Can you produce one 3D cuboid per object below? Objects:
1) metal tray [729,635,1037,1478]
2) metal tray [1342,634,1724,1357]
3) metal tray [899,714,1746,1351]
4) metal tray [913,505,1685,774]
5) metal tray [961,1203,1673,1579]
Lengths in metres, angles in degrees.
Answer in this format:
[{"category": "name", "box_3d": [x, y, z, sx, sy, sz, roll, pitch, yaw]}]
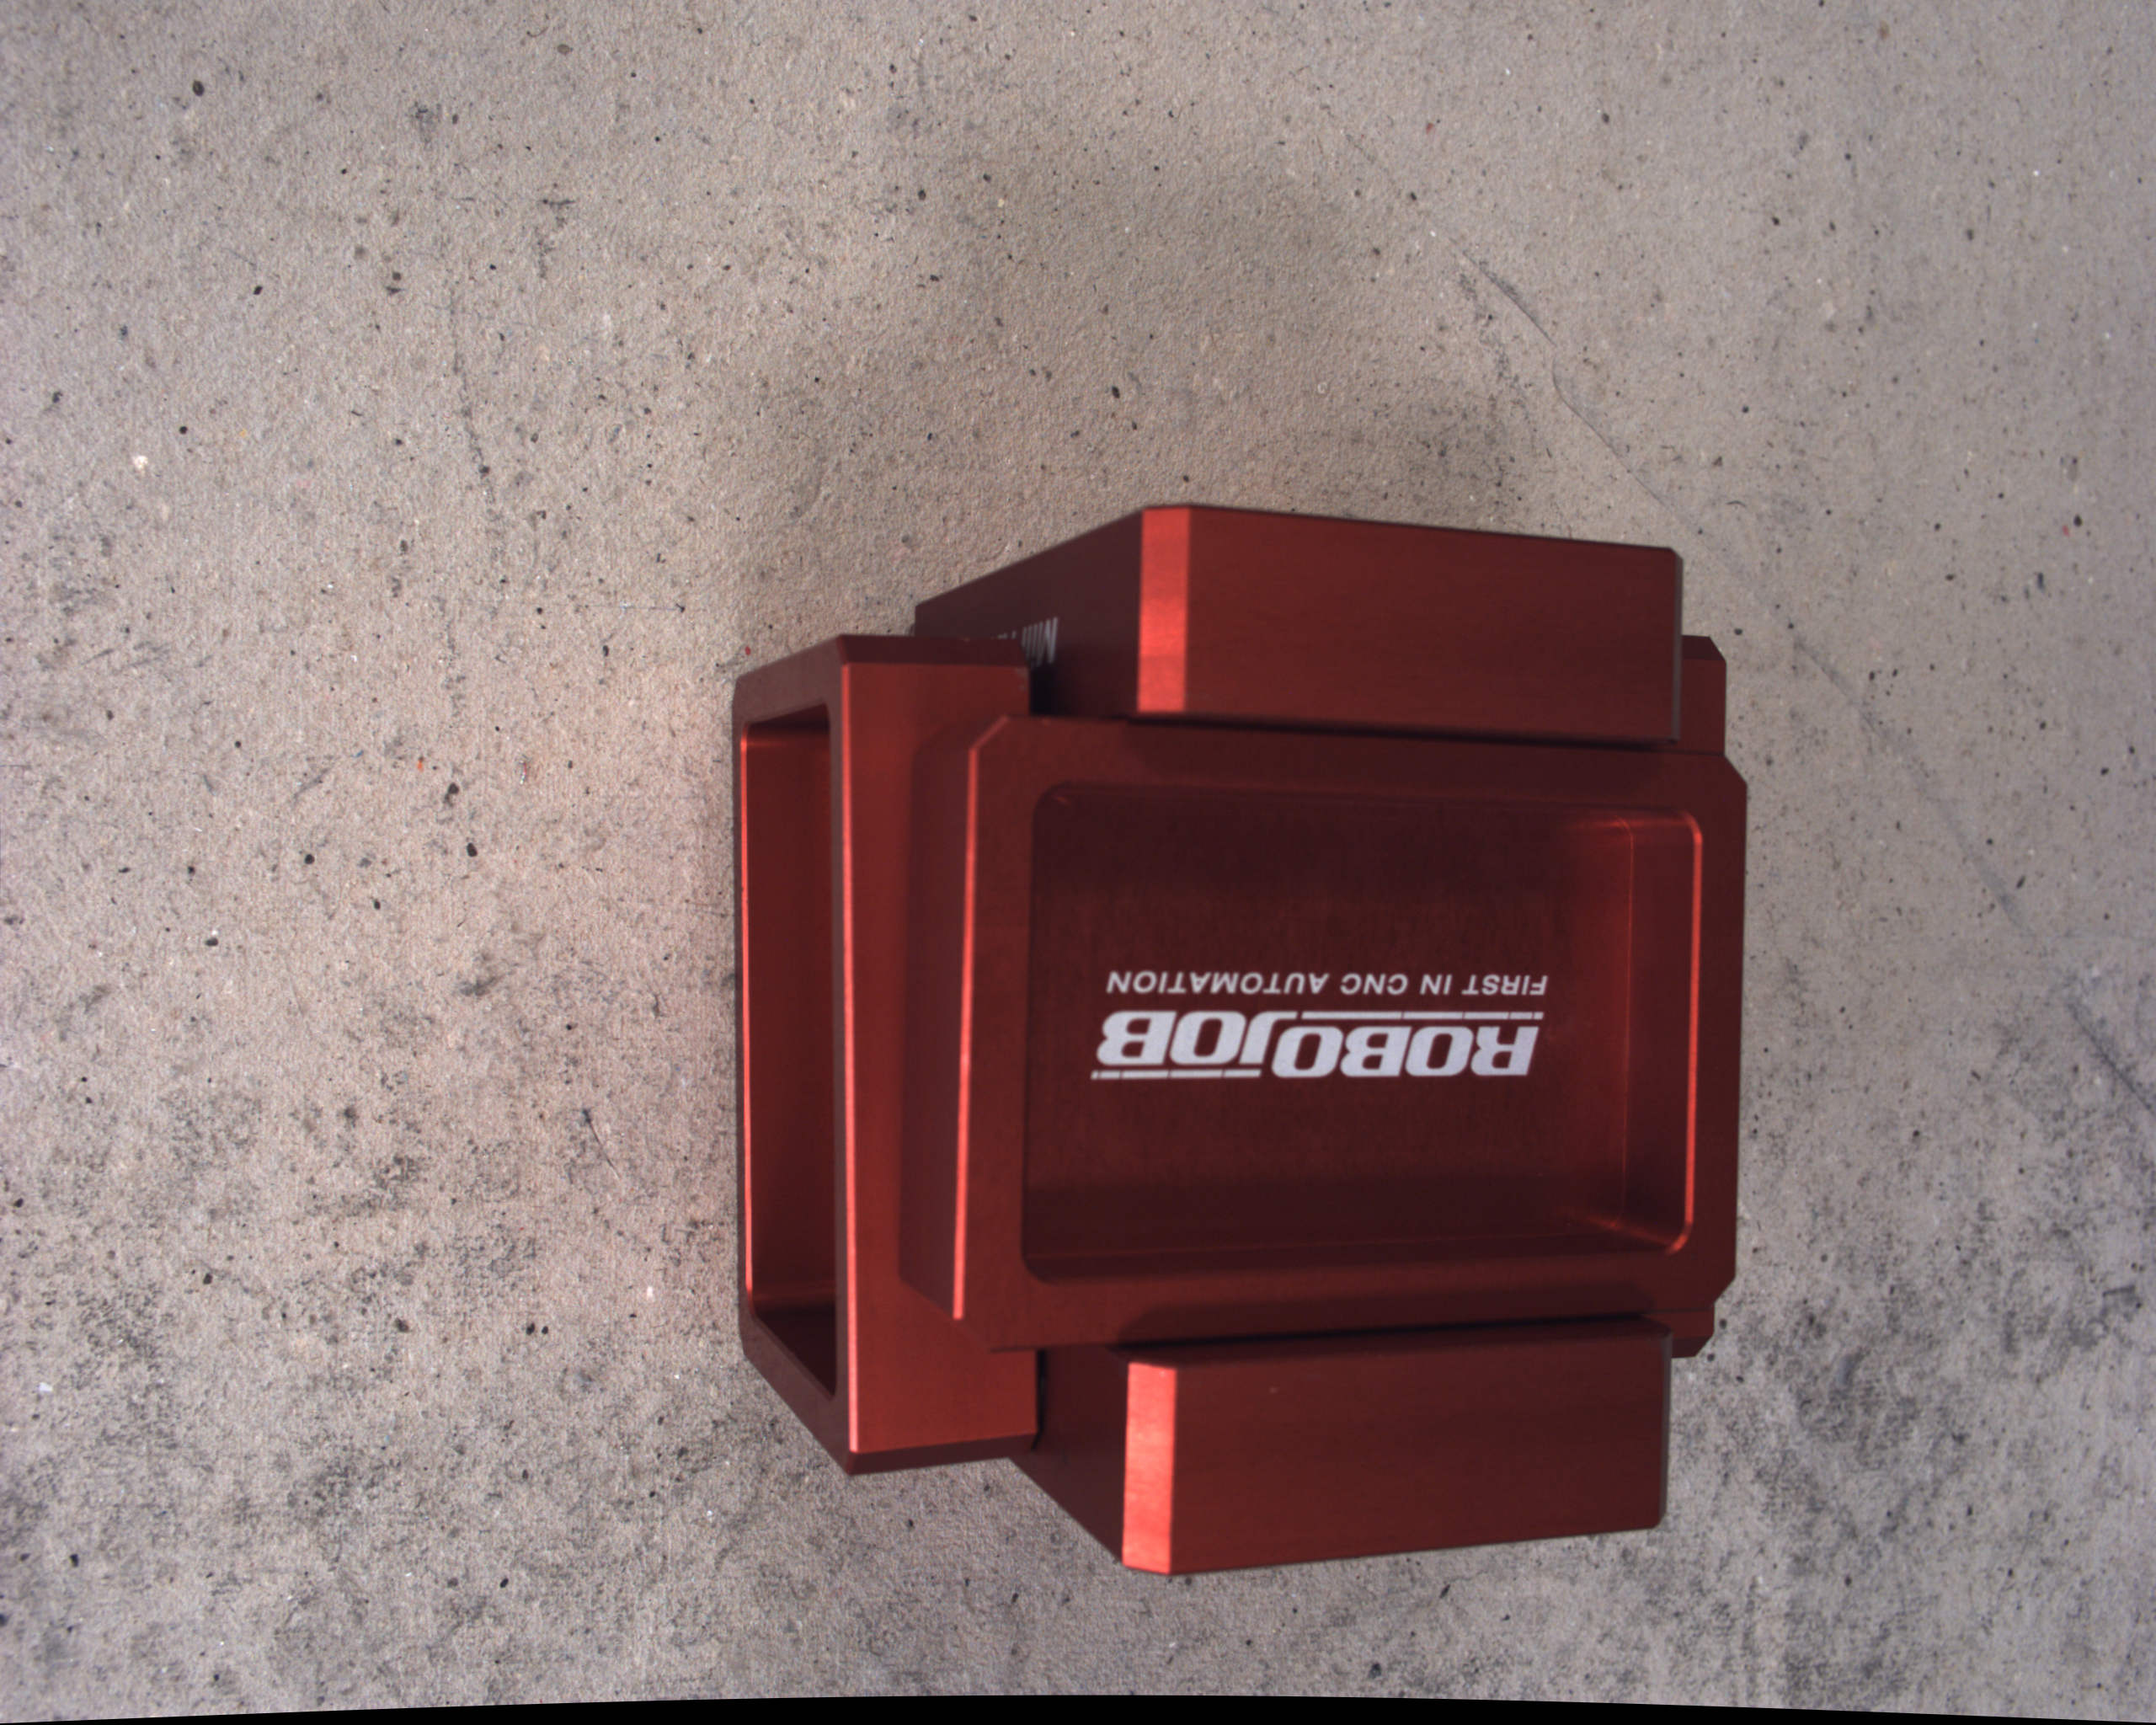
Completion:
[{"category": "metal tray", "box_3d": [-0.037, 0.029, 0.362, 0.030, 0.090, 0.129, -1, 90, -21]}, {"category": "metal tray", "box_3d": [0.085, 0.024, 0.407, 0.030, 0.090, 0.129, 2, 88, -19]}, {"category": "metal tray", "box_3d": [0.040, 0.025, 0.327, 0.131, 0.030, 0.089, 2, 90, -20]}, {"category": "metal tray", "box_3d": [0.031, -0.034, 0.365, 0.091, 0.130, 0.030, 2, 90, -20]}, {"category": "metal tray", "box_3d": [0.029, 0.085, 0.365, 0.091, 0.130, 0.030, 1, 91, -20]}]
